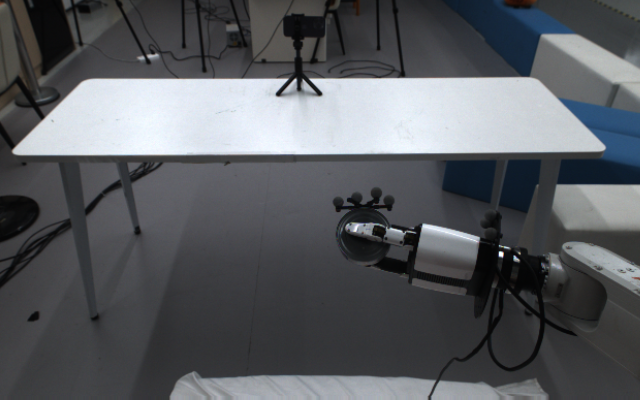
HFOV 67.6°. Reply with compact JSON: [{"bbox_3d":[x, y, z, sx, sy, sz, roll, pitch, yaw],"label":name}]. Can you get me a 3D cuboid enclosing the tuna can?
[{"bbox_3d":[0.069,0.056,0.743,0.085,0.034,0.085,-2,69,6],"label":"tuna can"}]
